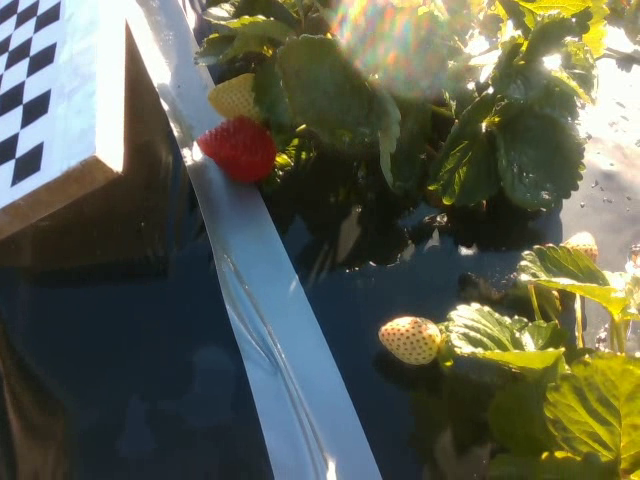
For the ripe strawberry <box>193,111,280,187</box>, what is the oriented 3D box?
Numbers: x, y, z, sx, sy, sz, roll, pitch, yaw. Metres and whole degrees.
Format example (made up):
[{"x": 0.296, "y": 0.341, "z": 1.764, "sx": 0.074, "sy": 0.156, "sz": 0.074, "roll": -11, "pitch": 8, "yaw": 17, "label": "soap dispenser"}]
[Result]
[{"x": -0.052, "y": -0.057, "z": 0.365, "sx": 0.045, "sy": 0.049, "sz": 0.064, "roll": -3, "pitch": 0, "yaw": 33, "label": "ripe strawberry"}]
